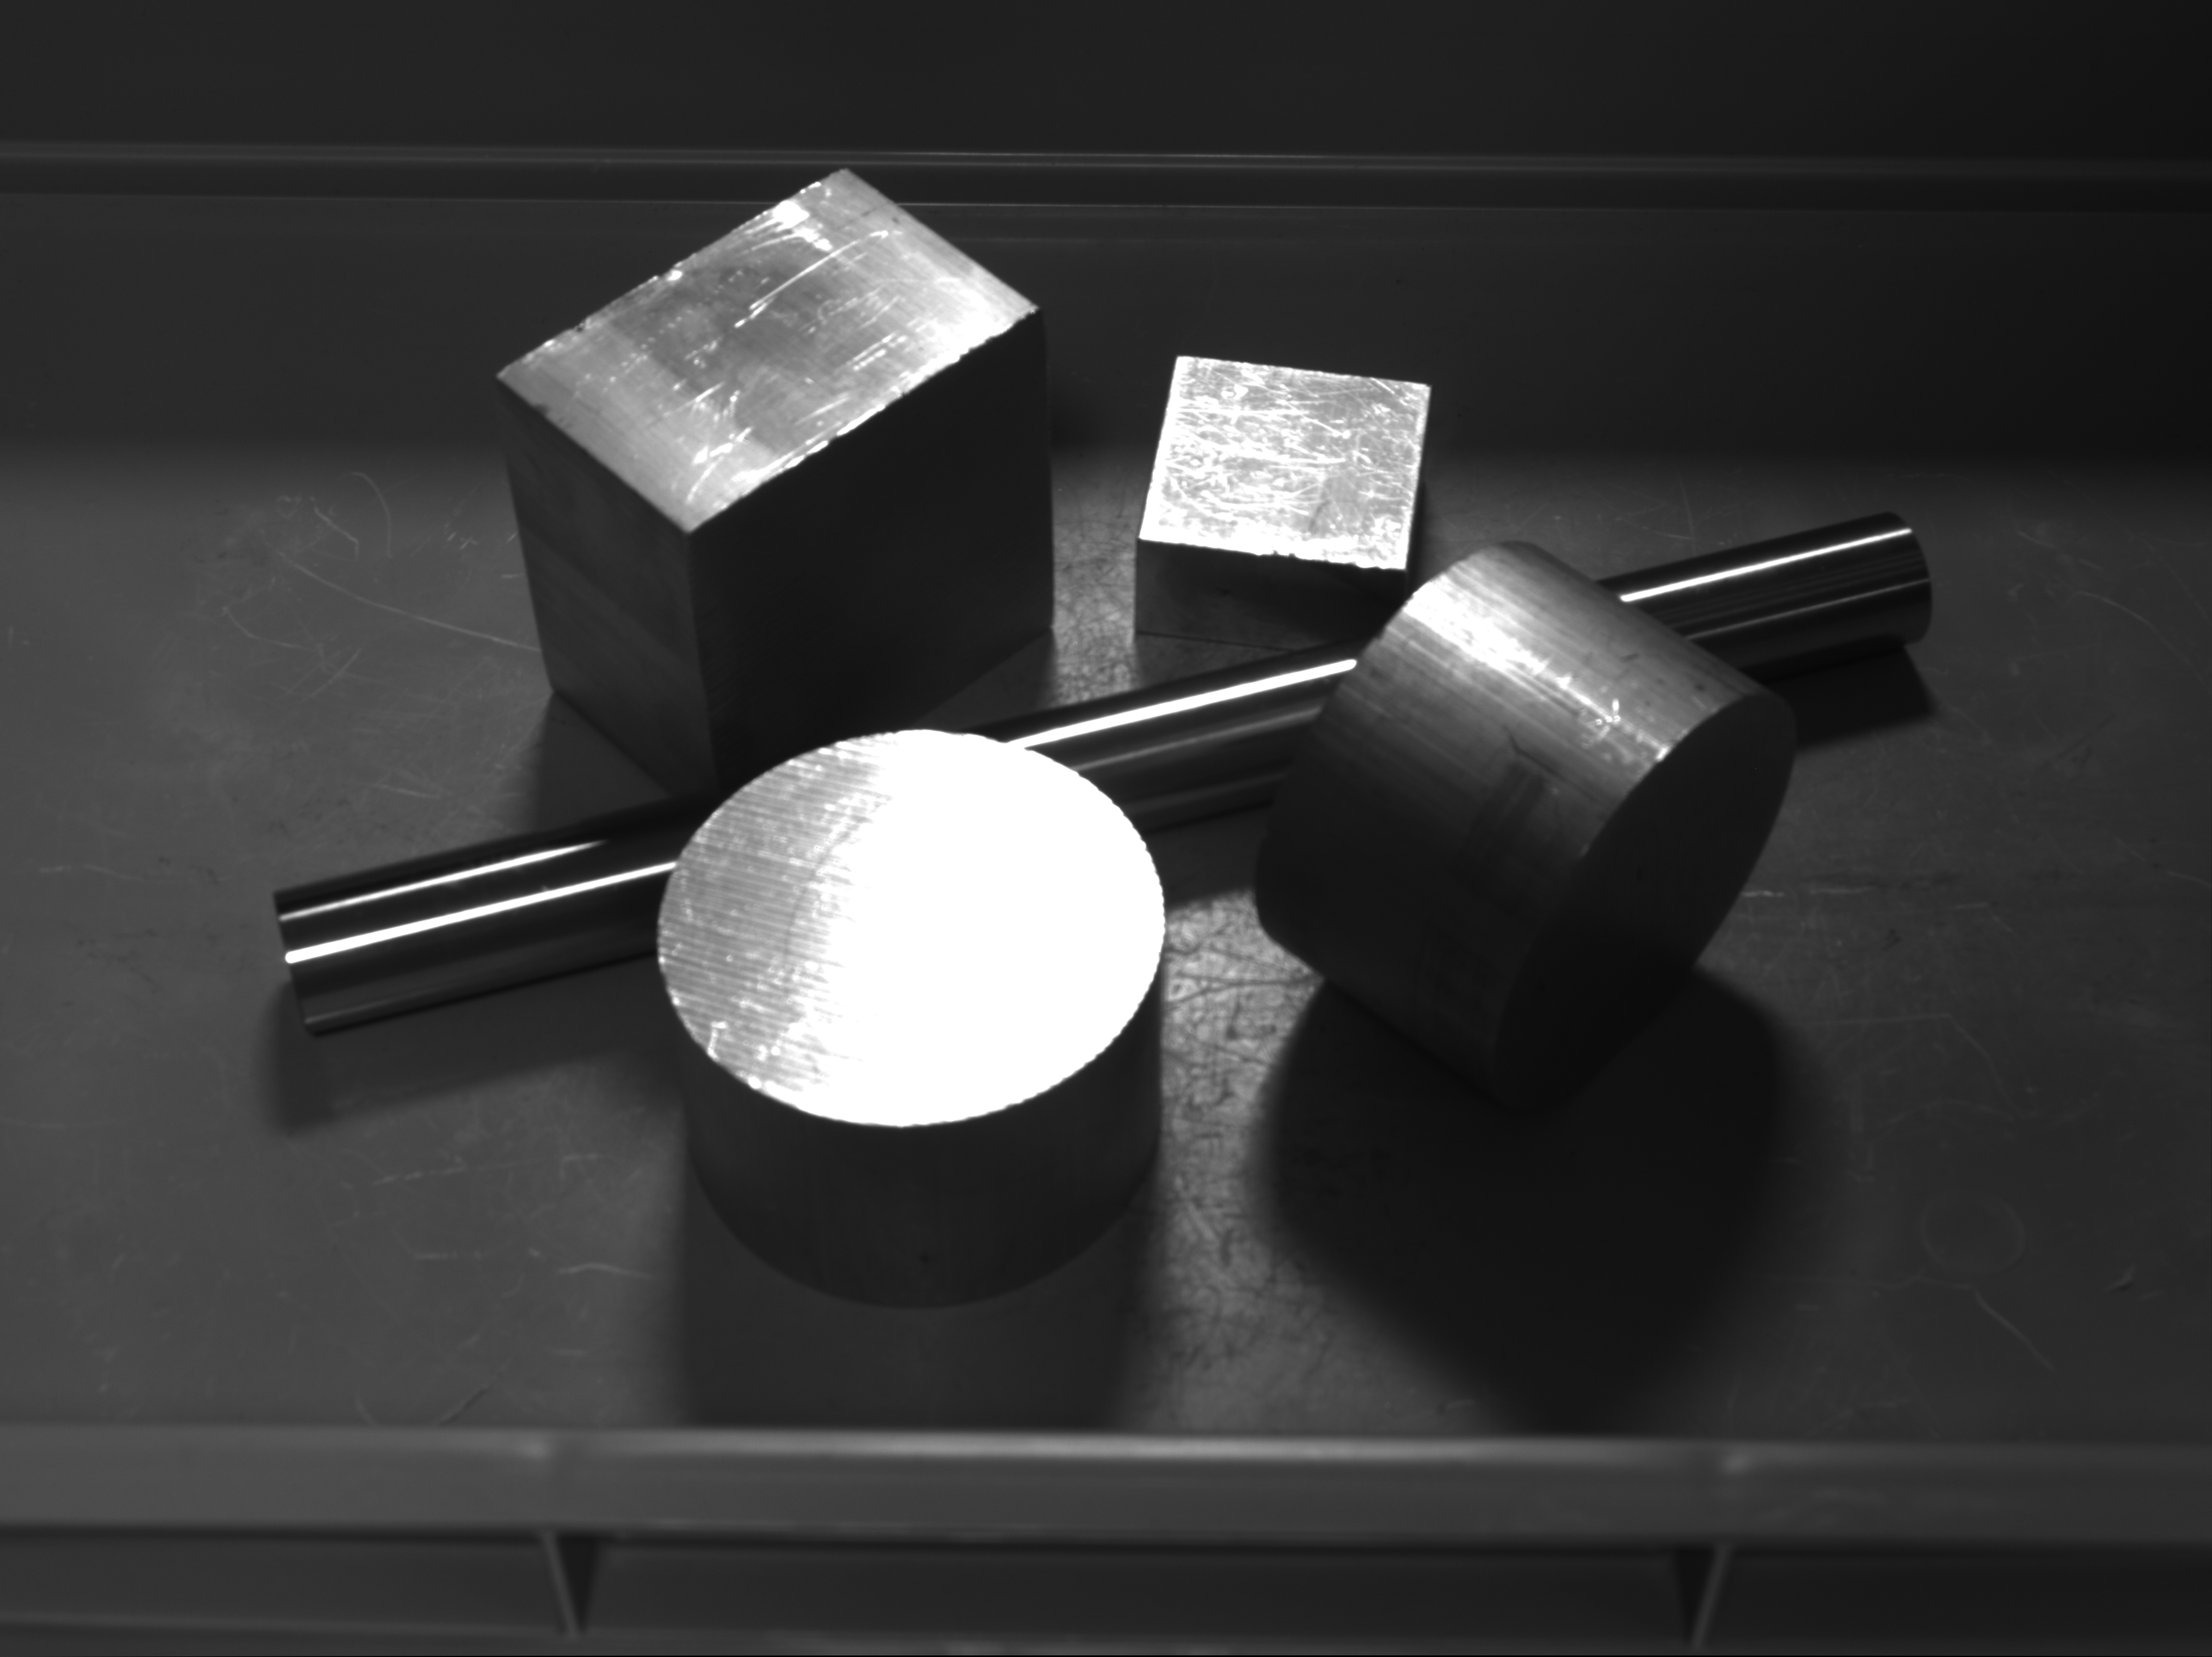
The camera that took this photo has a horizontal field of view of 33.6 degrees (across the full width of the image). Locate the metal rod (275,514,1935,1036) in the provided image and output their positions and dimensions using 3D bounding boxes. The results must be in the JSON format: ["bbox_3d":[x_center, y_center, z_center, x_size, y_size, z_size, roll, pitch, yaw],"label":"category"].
[{"bbox_3d":[0.005,-0.012,0.651,0.300,0.025,0.025,-14,51,-11],"label":"metal rod"}]

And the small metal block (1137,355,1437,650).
[{"bbox_3d":[0.034,-0.061,0.692,0.050,0.025,0.050,7,50,6],"label":"small metal block"}]

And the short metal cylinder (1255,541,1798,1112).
[{"bbox_3d":[0.070,0.000,0.606,0.050,0.080,0.080,35,58,26],"label":"short metal cylinder"}]

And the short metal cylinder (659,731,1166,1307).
[{"bbox_3d":[-0.030,0.031,0.598,0.080,0.050,0.080,0,50,0],"label":"short metal cylinder"}]

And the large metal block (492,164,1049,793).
[{"bbox_3d":[-0.057,-0.058,0.654,0.080,0.080,0.050,-36,58,-26],"label":"large metal block"}]
